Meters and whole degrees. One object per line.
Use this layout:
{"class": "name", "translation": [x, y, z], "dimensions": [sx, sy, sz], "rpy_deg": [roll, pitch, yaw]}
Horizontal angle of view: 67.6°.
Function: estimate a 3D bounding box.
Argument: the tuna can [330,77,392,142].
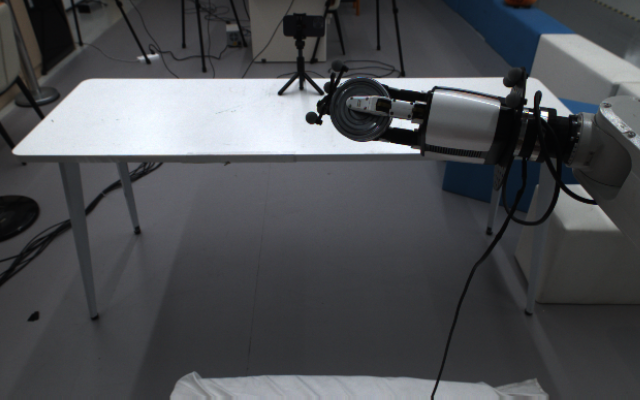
{"class": "tuna can", "translation": [0.058, -0.126, 0.665], "dimensions": [0.085, 0.085, 0.034], "rpy_deg": [9, 5, 9]}
